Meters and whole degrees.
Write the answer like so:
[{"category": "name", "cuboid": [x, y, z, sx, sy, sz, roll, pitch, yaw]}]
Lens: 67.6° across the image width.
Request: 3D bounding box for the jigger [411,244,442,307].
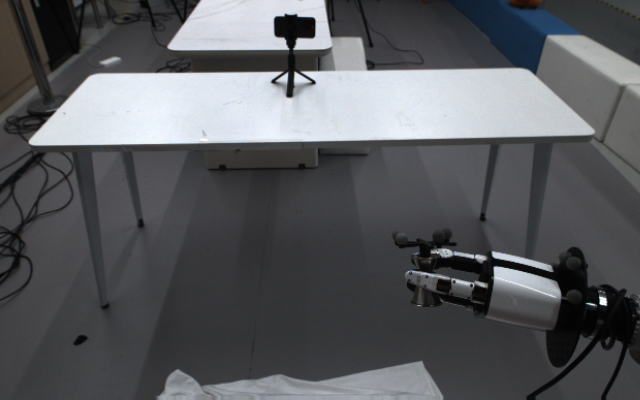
[{"category": "jigger", "cuboid": [0.148, 0.111, 0.680, 0.043, 0.071, 0.043, -2, 3, 0]}]
